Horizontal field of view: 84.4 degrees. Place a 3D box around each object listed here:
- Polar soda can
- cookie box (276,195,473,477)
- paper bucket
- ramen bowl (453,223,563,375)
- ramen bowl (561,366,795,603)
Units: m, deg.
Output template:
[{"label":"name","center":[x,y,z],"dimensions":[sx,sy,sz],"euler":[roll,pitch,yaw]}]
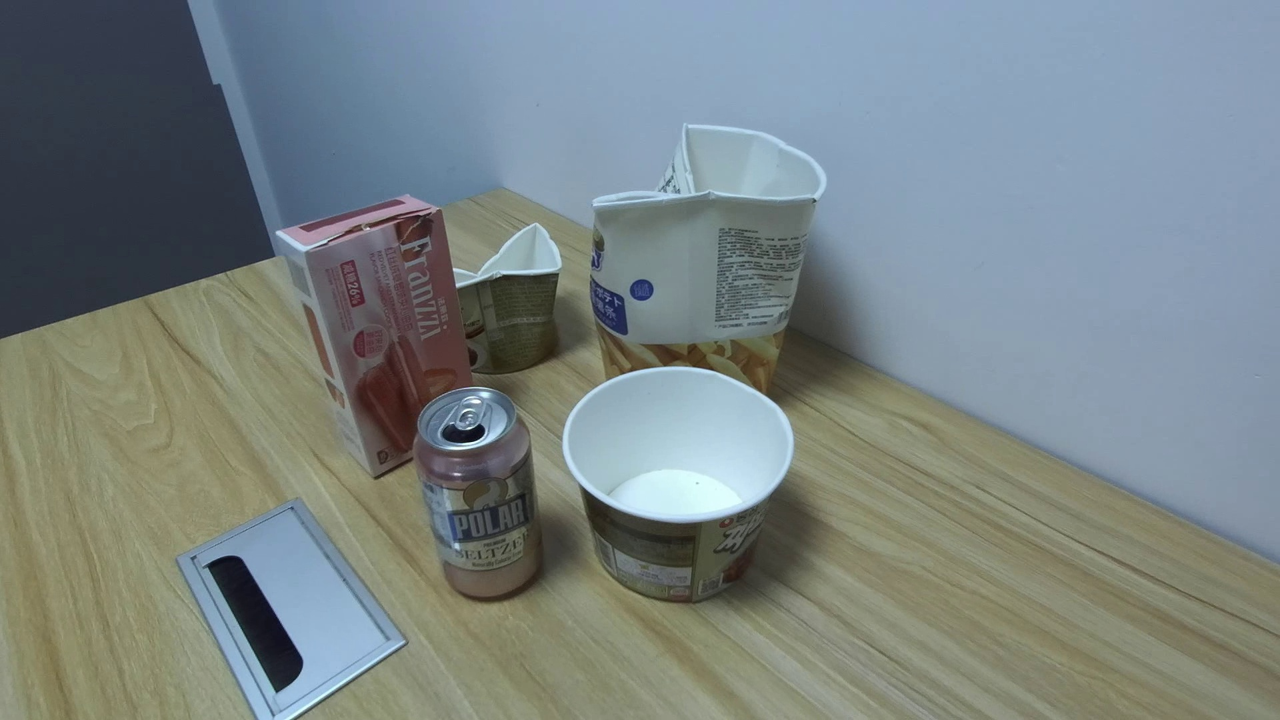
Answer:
[{"label":"Polar soda can","center":[-0.096,0.081,0.430],"dimensions":[0.067,0.126,0.067],"euler":[0,35,0]},{"label":"cookie box","center":[-0.177,-0.017,0.514],"dimensions":[0.105,0.188,0.048],"euler":[-29,42,-35]},{"label":"paper bucket","center":[0.043,-0.071,0.579],"dimensions":[0.169,0.202,0.162],"euler":[-1,34,-5]},{"label":"ramen bowl","center":[-0.138,-0.055,0.648],"dimensions":[0.128,0.093,0.111],"euler":[-12,38,-18]},{"label":"ramen bowl","center":[0.023,0.082,0.452],"dimensions":[0.140,0.095,0.140],"euler":[-1,35,1]}]
